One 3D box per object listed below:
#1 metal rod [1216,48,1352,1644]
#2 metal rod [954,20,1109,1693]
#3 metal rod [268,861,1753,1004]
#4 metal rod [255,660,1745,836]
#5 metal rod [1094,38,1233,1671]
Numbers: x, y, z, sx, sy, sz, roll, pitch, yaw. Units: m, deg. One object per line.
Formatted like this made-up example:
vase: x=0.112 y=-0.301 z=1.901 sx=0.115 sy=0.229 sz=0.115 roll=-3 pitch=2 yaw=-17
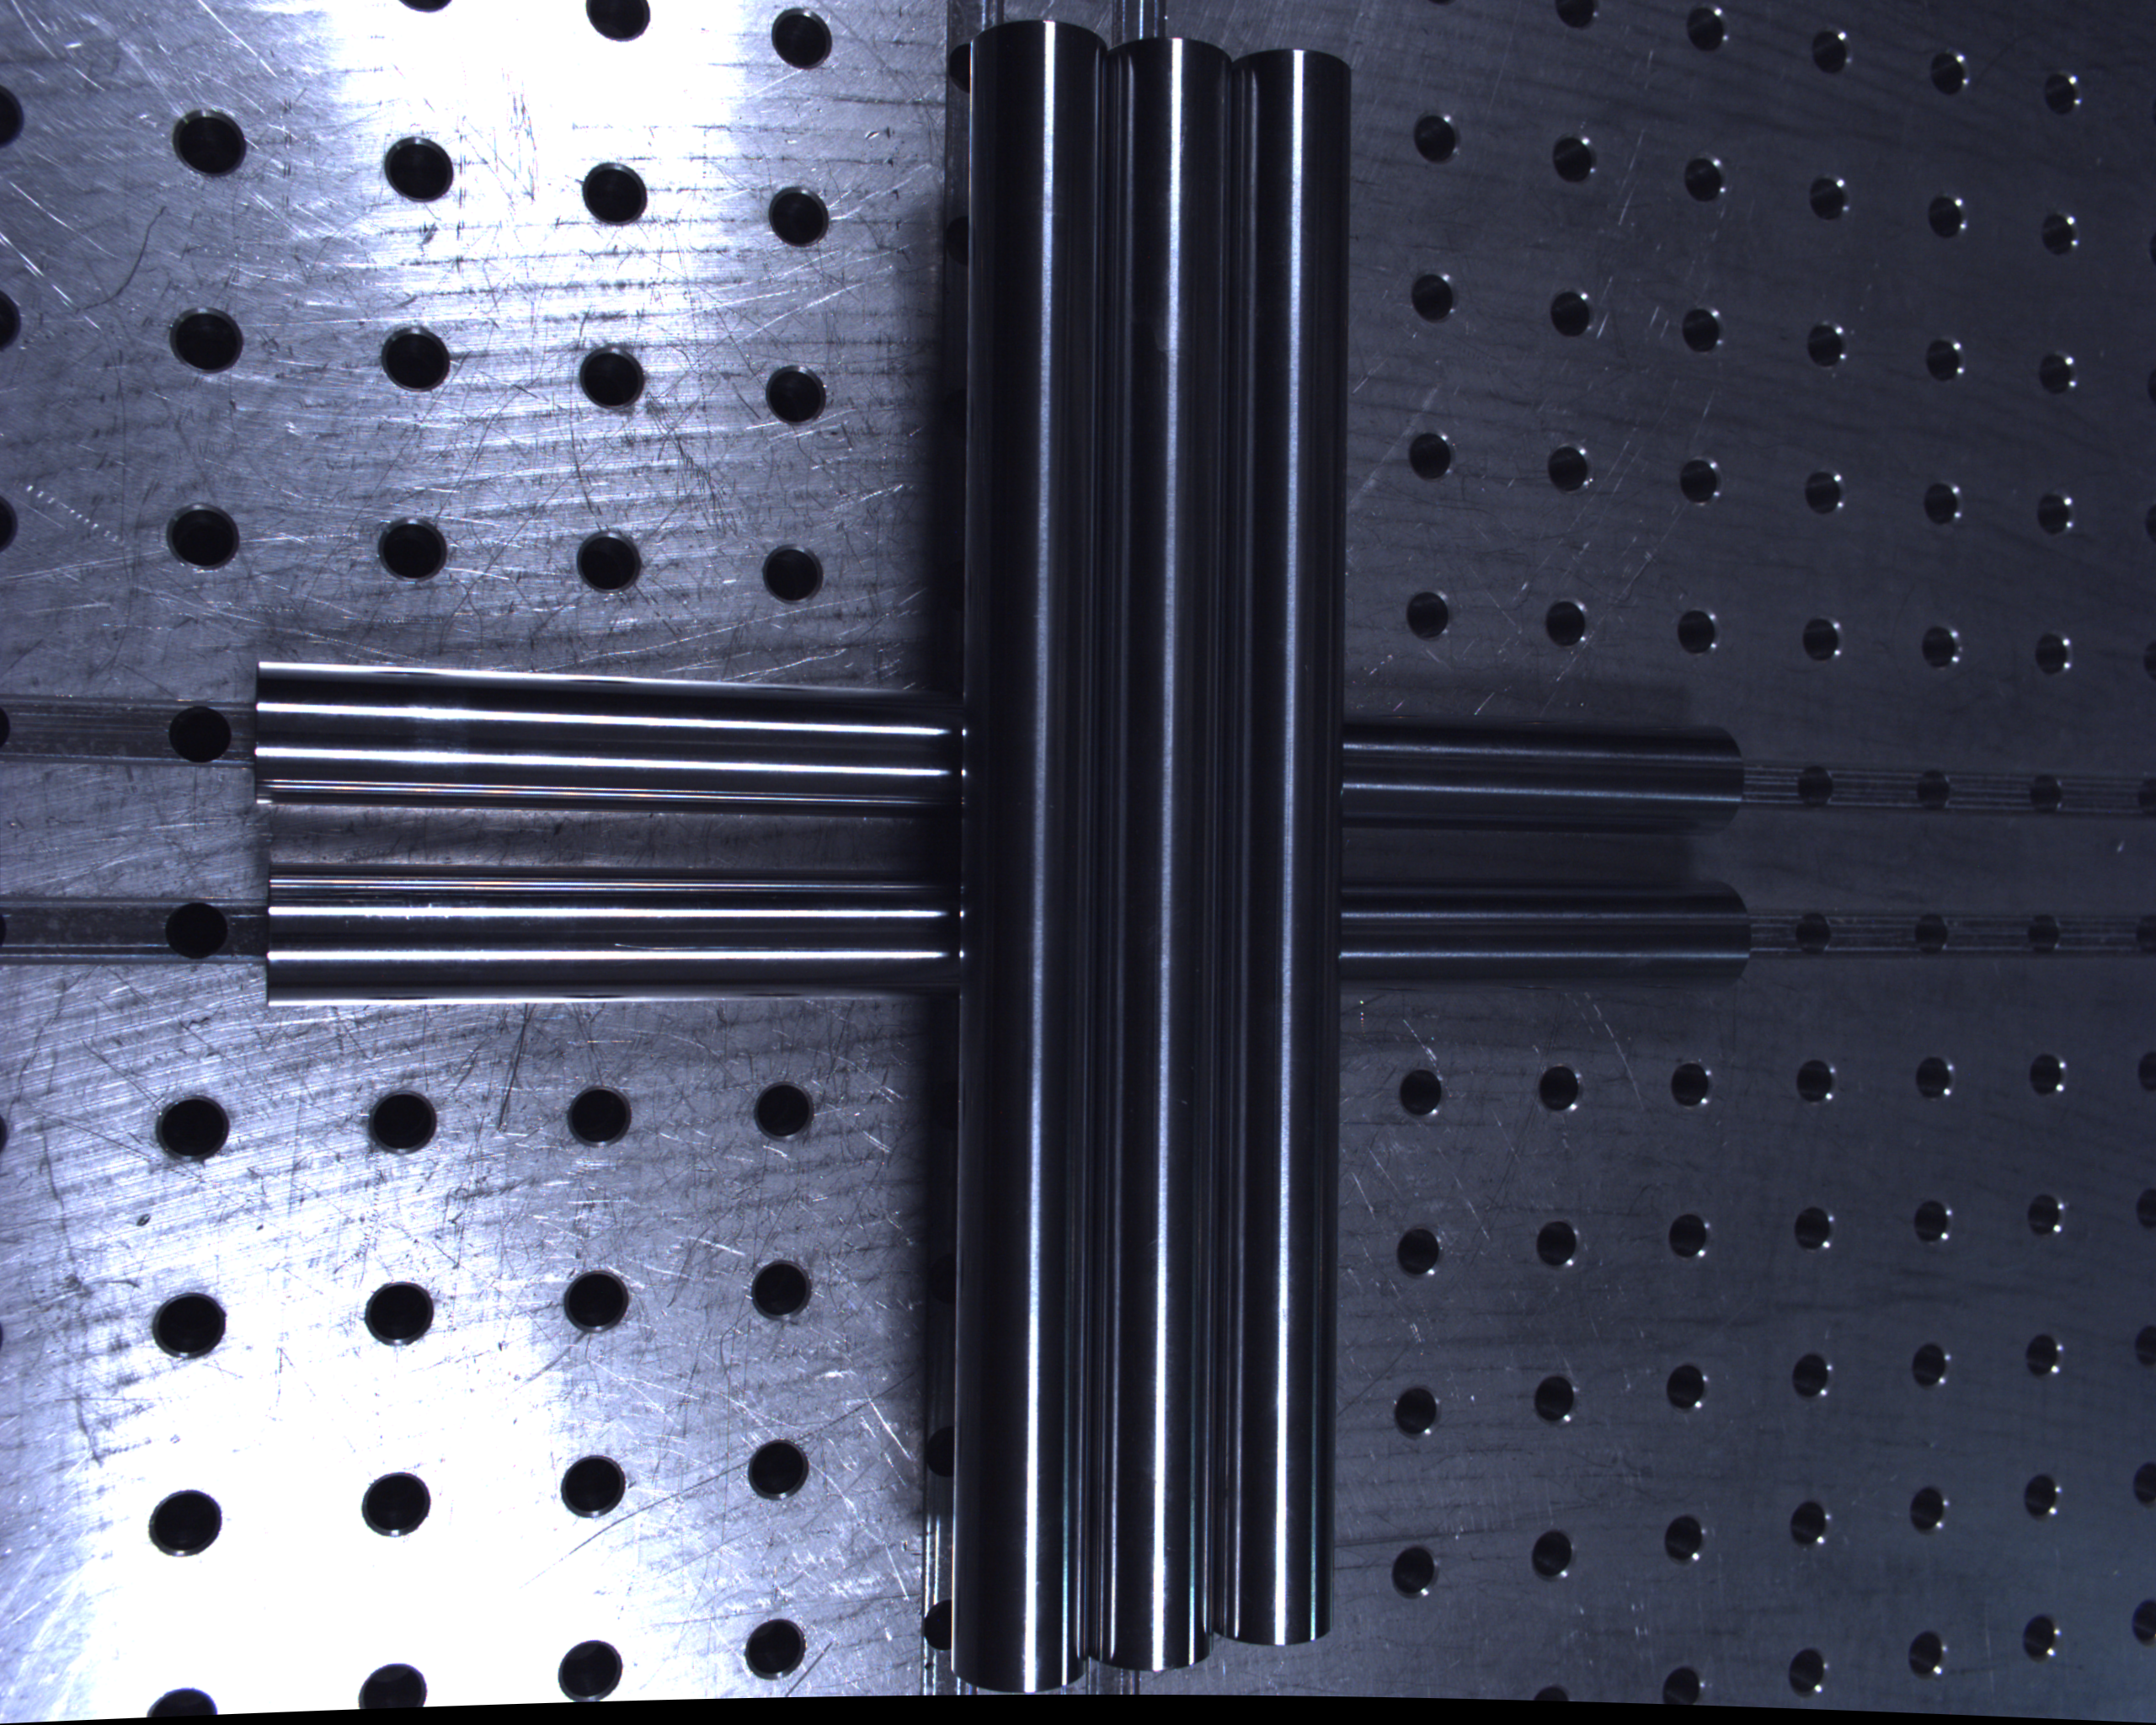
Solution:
metal rod: x=0.038 y=-0.003 z=0.402 sx=0.025 sy=0.025 sz=0.298 roll=1 pitch=90 yaw=-20
metal rod: x=-0.009 y=-0.001 z=0.384 sx=0.025 sy=0.025 sz=0.298 roll=1 pitch=90 yaw=-20
metal rod: x=0.001 y=0.014 z=0.414 sx=0.303 sy=0.025 sz=0.025 roll=1 pitch=90 yaw=-21
metal rod: x=0.000 y=-0.020 z=0.414 sx=0.303 sy=0.025 sz=0.025 roll=1 pitch=90 yaw=-21
metal rod: x=0.015 y=-0.002 z=0.393 sx=0.025 sy=0.025 sz=0.298 roll=1 pitch=90 yaw=-20
